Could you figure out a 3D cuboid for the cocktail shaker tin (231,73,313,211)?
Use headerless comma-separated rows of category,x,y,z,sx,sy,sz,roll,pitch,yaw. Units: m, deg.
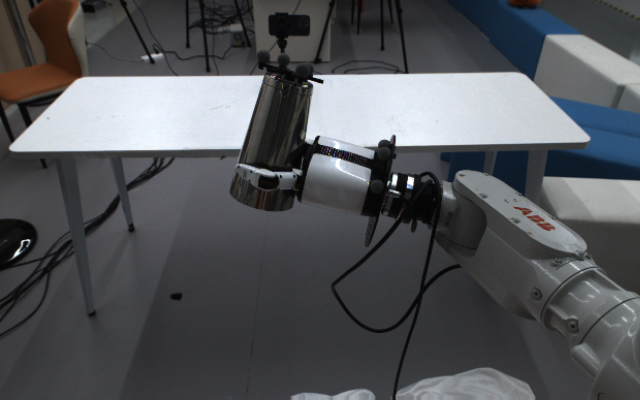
cocktail shaker tin,-0.061,-0.081,0.659,0.093,0.170,0.093,14,20,-5
